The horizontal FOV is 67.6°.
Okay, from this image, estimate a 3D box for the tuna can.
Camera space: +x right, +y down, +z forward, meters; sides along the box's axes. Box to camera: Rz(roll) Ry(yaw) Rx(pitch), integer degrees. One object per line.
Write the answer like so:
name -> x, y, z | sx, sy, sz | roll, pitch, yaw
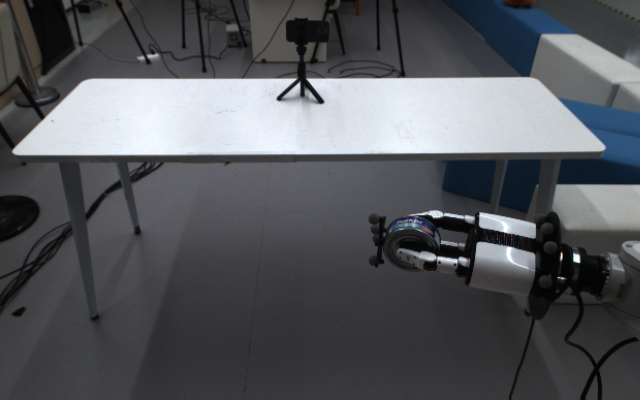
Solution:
tuna can -> 0.142, 0.061, 0.745 | 0.085, 0.085, 0.034 | 9, 32, 10
